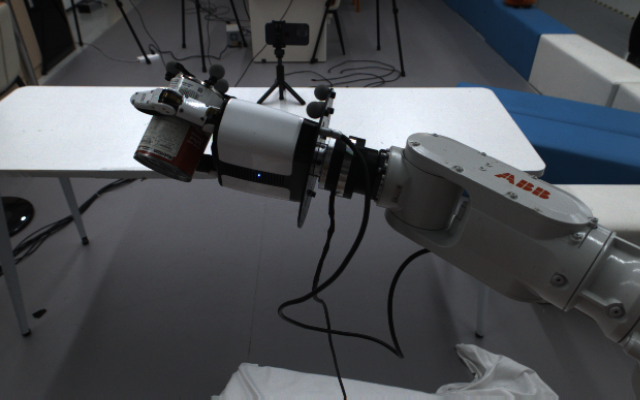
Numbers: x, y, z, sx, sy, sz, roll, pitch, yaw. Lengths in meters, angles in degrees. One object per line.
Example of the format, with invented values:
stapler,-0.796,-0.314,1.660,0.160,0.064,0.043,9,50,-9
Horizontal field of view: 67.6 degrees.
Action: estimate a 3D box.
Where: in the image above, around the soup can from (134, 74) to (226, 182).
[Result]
soup can,-0.155,-0.079,0.546,0.067,0.067,0.101,16,76,19
